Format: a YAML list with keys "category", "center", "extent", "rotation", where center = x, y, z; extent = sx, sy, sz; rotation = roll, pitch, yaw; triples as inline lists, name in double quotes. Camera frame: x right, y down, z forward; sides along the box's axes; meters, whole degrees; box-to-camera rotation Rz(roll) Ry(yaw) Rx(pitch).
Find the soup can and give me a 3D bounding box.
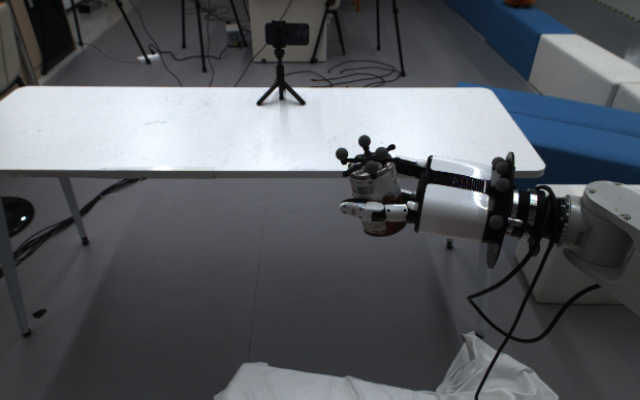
- category: "soup can"
  center: [0.082, -0.008, 0.684]
  extent: [0.067, 0.101, 0.067]
  rotation: [-13, 31, 8]
